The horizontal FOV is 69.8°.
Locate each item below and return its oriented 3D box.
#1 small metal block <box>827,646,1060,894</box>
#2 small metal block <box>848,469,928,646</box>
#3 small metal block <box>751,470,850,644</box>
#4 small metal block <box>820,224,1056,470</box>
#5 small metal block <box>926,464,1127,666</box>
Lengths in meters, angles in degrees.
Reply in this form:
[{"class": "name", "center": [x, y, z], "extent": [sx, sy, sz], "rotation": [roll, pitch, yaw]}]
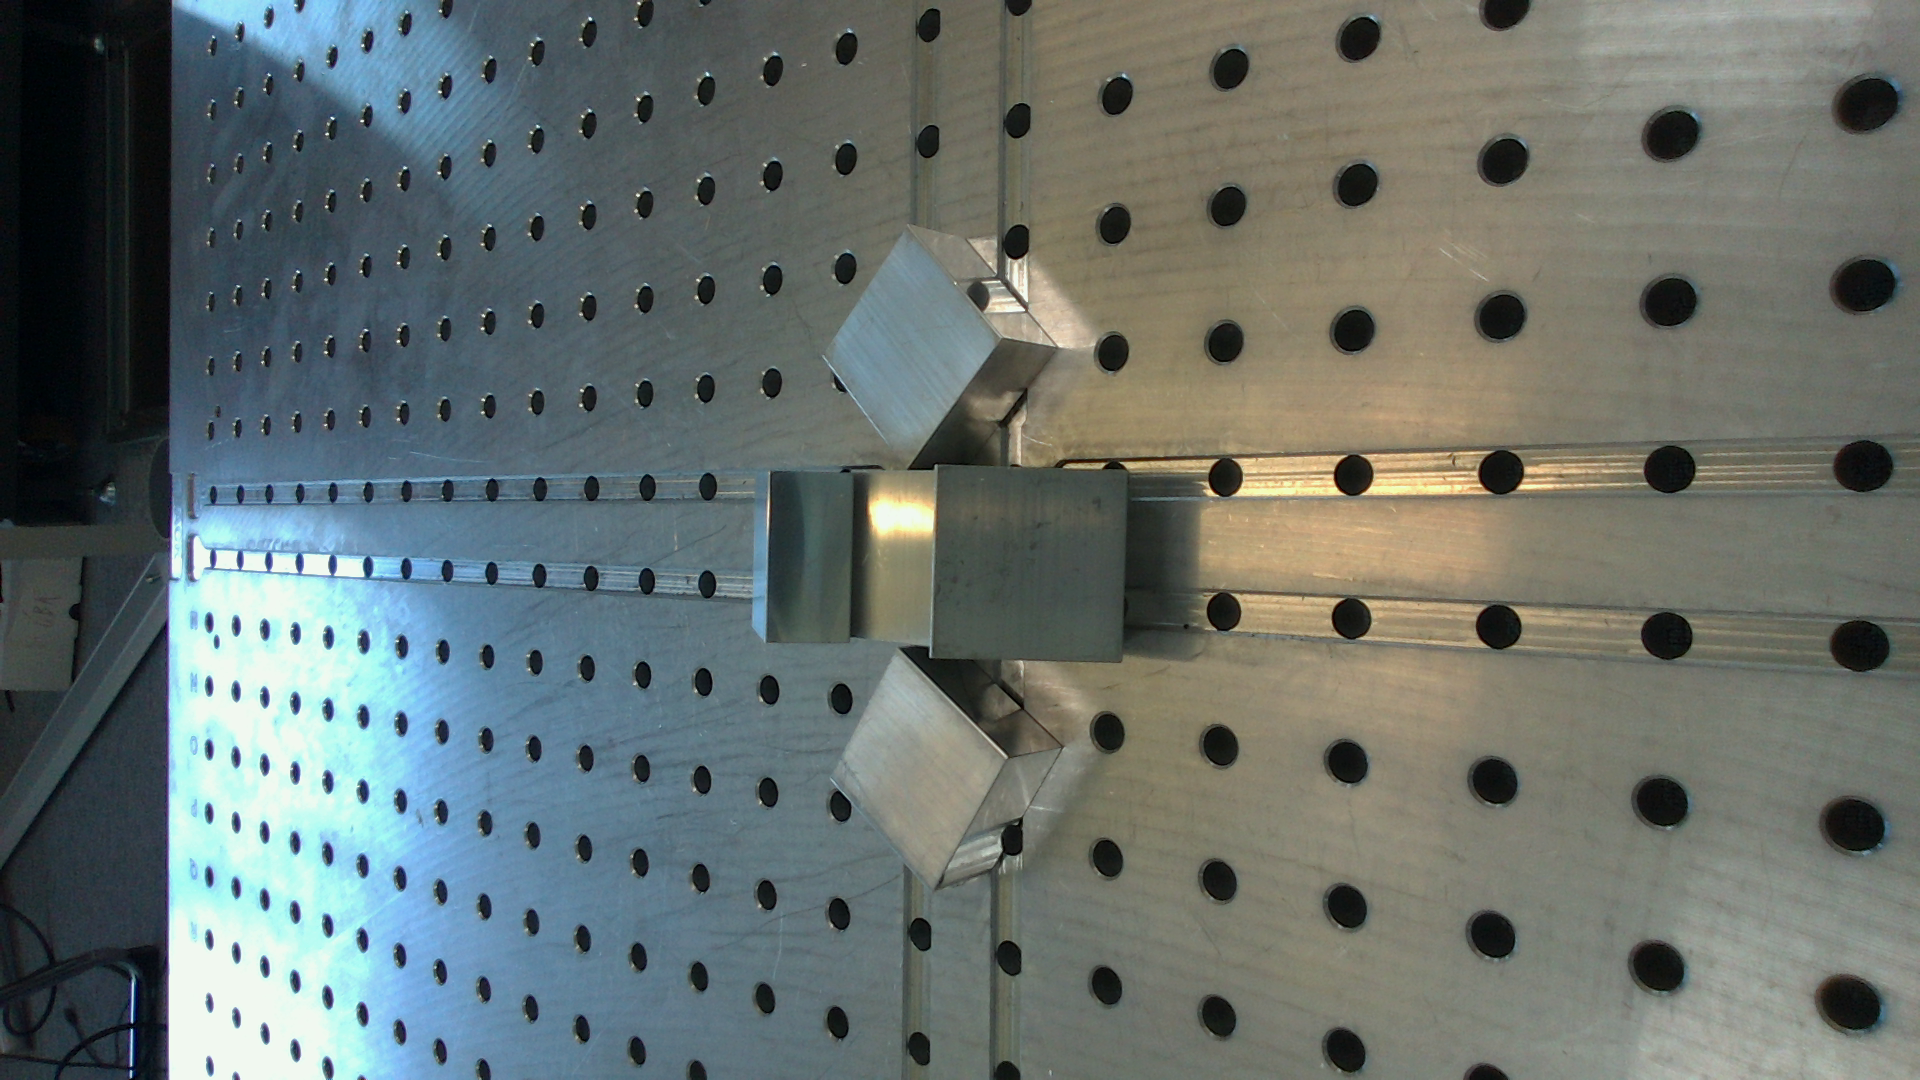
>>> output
[{"class": "small metal block", "center": [-0.006, 0.065, 0.402], "extent": [0.050, 0.025, 0.050], "rotation": [42, 116, 33]}, {"class": "small metal block", "center": [-0.007, 0.005, 0.404], "extent": [0.050, 0.025, 0.050], "rotation": [2, 90, 40]}, {"class": "small metal block", "center": [-0.050, 0.004, 0.424], "extent": [0.050, 0.025, 0.050], "rotation": [-170, 81, -77]}, {"class": "small metal block", "center": [-0.008, -0.055, 0.404], "extent": [0.050, 0.025, 0.050], "rotation": [-51, 59, 27]}, {"class": "small metal block", "center": [0.017, 0.006, 0.366], "extent": [0.050, 0.025, 0.050], "rotation": [2, 91, -1]}]
